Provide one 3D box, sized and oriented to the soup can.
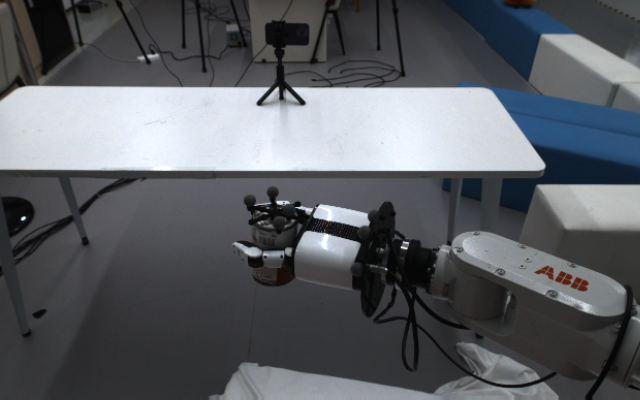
[{"bbox_3d":[-0.065,0.067,0.705,0.067,0.101,0.067,3,30,-2],"label":"soup can"}]
